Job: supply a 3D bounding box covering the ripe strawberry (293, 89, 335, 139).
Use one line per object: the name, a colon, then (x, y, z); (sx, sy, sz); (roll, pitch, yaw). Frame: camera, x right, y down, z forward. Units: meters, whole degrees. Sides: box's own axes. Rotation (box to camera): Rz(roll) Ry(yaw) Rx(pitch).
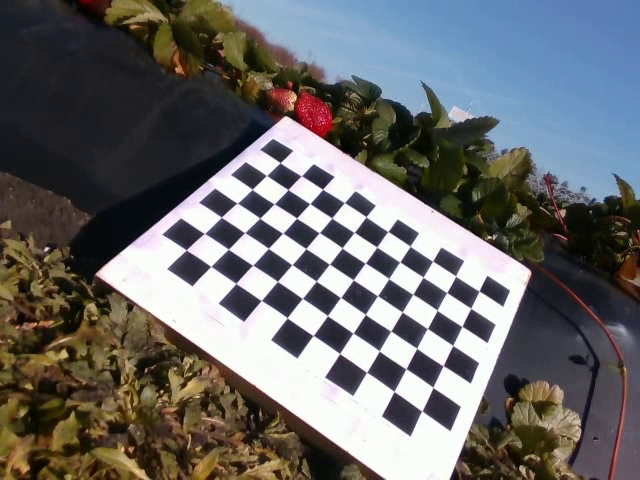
ripe strawberry: (-0.013, -0.131, 0.638); (0.058, 0.065, 0.061); (-18, -32, 0)
